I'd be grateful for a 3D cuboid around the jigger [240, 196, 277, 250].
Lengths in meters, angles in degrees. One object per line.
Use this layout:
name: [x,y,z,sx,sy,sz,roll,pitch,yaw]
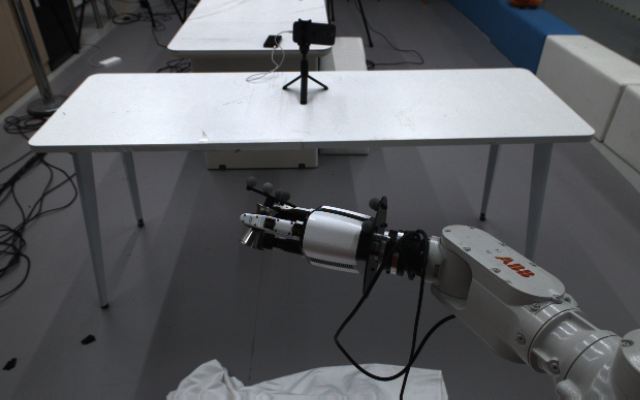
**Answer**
jigger: [-0.099,0.041,0.774,0.043,0.071,0.043,24,-2,1]
